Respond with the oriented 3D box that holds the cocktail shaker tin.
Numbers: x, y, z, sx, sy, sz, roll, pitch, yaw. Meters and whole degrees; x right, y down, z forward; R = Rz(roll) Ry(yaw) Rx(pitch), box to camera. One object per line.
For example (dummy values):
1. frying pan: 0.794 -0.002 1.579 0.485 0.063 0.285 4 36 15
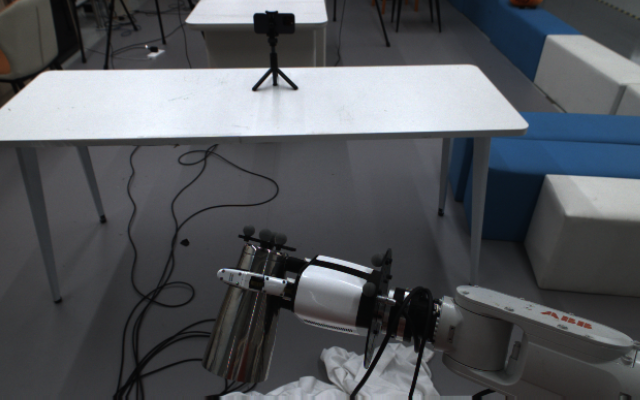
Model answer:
1. cocktail shaker tin: -0.095 0.149 0.671 0.093 0.170 0.093 15 -5 1
